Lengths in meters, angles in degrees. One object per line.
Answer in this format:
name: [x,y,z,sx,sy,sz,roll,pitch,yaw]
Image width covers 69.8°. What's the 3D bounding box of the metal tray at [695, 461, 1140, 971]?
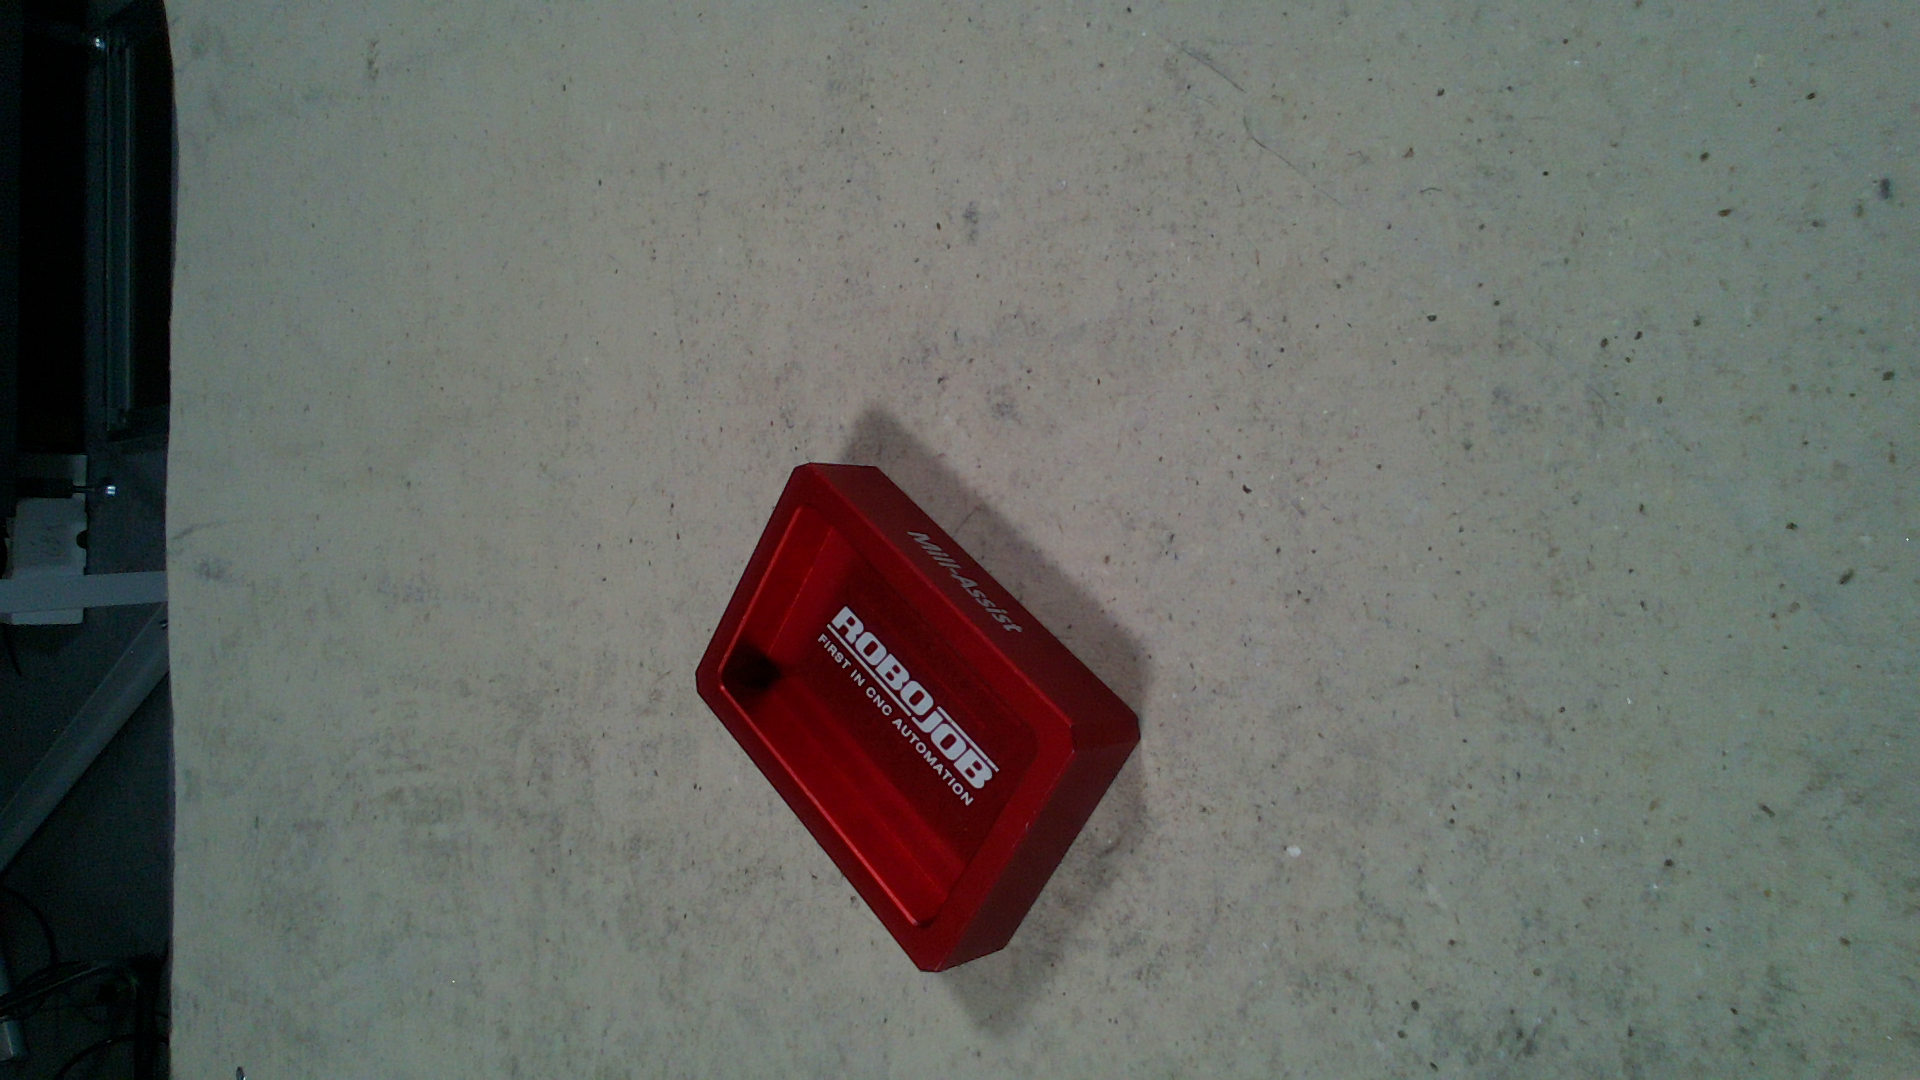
metal tray: [-0.019,0.048,0.407,0.130,0.030,0.090,43,116,31]
